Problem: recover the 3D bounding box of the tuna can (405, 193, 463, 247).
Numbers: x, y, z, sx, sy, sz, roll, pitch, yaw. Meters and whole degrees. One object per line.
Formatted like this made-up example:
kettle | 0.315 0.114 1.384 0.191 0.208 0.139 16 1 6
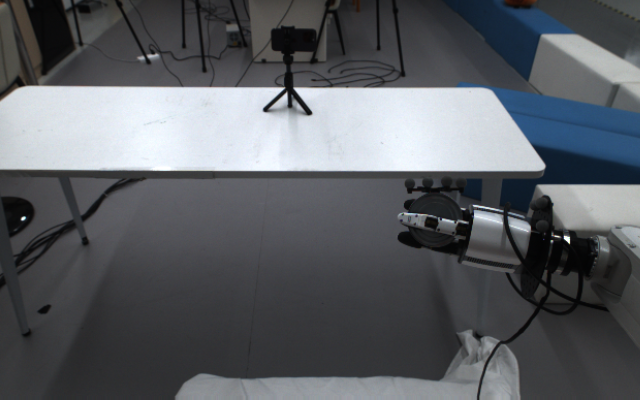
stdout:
tuna can | 0.183 0.030 0.768 0.085 0.085 0.034 15 2 18
